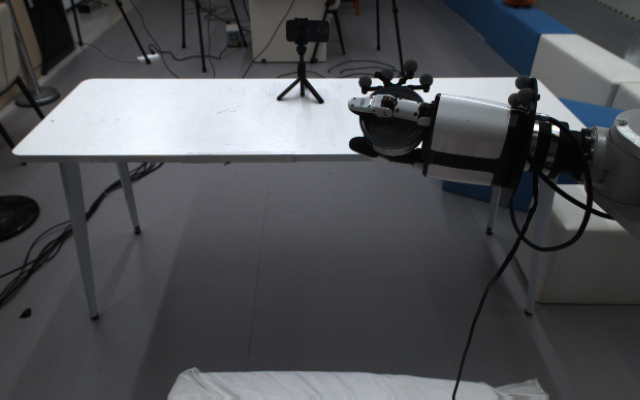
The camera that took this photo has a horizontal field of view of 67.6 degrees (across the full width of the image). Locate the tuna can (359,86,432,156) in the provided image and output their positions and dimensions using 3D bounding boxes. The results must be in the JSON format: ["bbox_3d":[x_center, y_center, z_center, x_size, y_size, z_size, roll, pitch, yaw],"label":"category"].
[{"bbox_3d":[0.095,-0.102,0.625,0.085,0.034,0.085,-3,73,11],"label":"tuna can"}]
